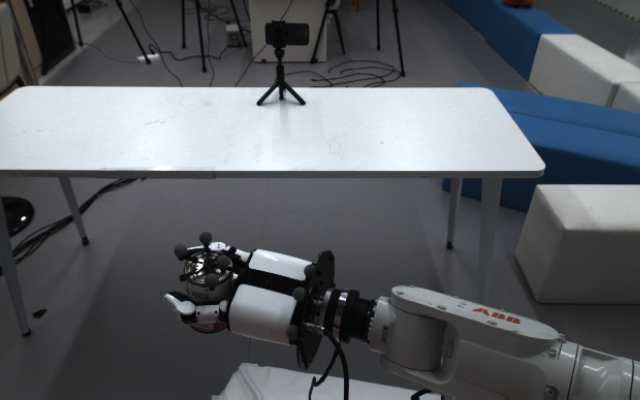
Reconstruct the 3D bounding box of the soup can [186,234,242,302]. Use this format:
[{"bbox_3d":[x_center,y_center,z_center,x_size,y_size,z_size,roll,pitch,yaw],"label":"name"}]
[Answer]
[{"bbox_3d":[-0.153,0.131,0.678,0.067,0.101,0.067,5,37,-4],"label":"soup can"}]
